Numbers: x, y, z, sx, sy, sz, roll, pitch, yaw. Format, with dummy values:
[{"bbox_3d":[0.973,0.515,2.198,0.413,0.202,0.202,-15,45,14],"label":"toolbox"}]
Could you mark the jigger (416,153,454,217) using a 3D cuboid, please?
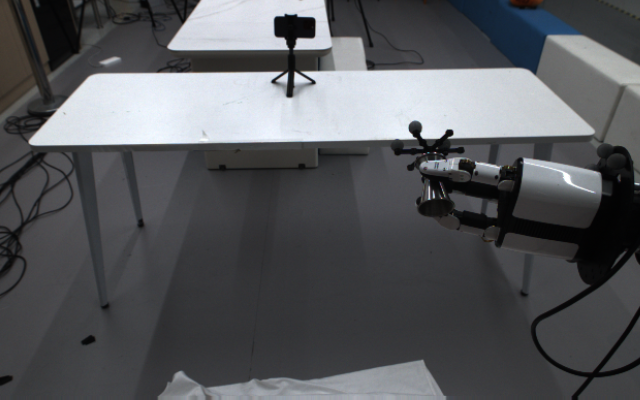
[{"bbox_3d":[0.138,-0.022,0.590,0.043,0.043,0.071,2,59,-1],"label":"jigger"}]
